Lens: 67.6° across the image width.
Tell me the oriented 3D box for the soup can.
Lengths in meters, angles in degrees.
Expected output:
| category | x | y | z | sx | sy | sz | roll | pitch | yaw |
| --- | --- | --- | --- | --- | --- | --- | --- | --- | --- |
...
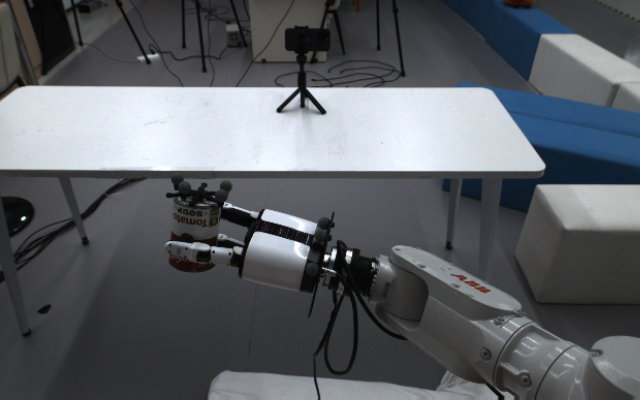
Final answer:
| category | x | y | z | sx | sy | sz | roll | pitch | yaw |
| --- | --- | --- | --- | --- | --- | --- | --- | --- | --- |
| soup can | -0.178 | 0.046 | 0.693 | 0.067 | 0.101 | 0.067 | 9 | 20 | -3 |
